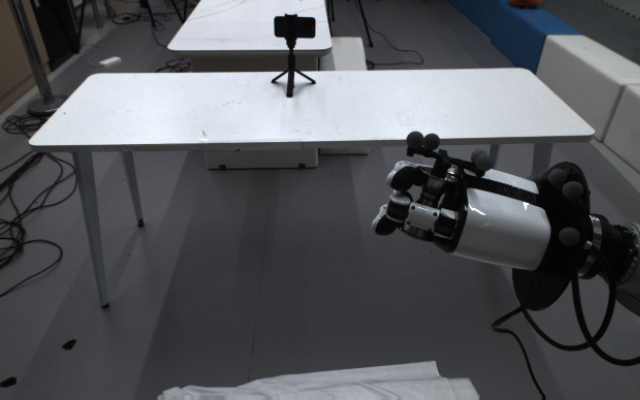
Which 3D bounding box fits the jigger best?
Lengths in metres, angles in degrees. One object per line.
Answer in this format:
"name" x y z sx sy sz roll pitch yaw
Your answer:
"jigger" 0.116 0.004 0.515 0.043 0.071 0.043 15 16 -5
